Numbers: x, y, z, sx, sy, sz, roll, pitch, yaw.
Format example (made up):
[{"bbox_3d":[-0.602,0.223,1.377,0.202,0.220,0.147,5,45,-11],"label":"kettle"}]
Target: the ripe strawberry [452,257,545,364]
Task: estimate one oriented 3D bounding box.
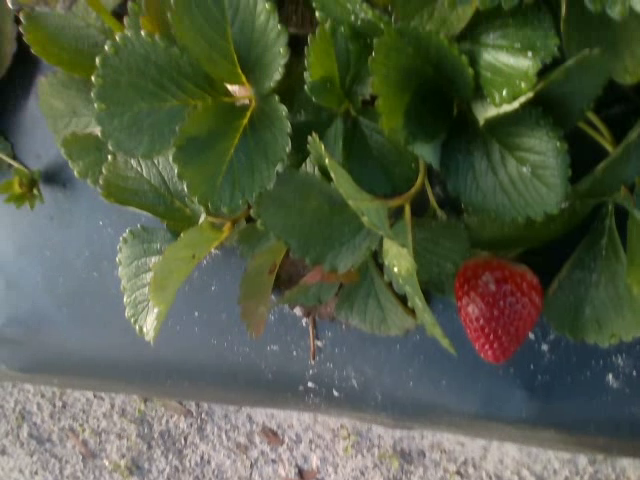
[{"bbox_3d":[0.036,0.014,0.120,0.018,0.023,0.020,7,10,40],"label":"ripe strawberry"}]
